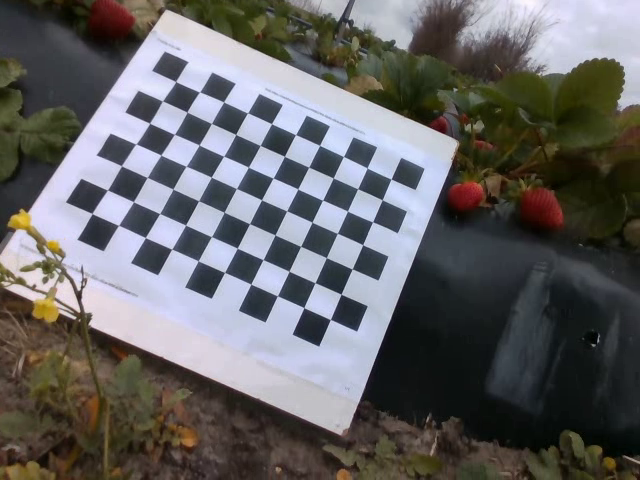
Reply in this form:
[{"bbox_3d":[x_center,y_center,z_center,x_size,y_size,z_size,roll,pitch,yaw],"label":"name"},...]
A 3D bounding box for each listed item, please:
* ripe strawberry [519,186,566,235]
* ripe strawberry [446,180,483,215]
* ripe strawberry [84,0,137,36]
[{"bbox_3d":[0.214,-0.032,0.554,0.044,0.059,0.042,-25,-38,-4],"label":"ripe strawberry"},{"bbox_3d":[0.136,-0.043,0.536,0.036,0.041,0.028,19,-39,10],"label":"ripe strawberry"},{"bbox_3d":[-0.221,-0.243,0.622,0.064,0.046,0.049,19,-17,35],"label":"ripe strawberry"}]
